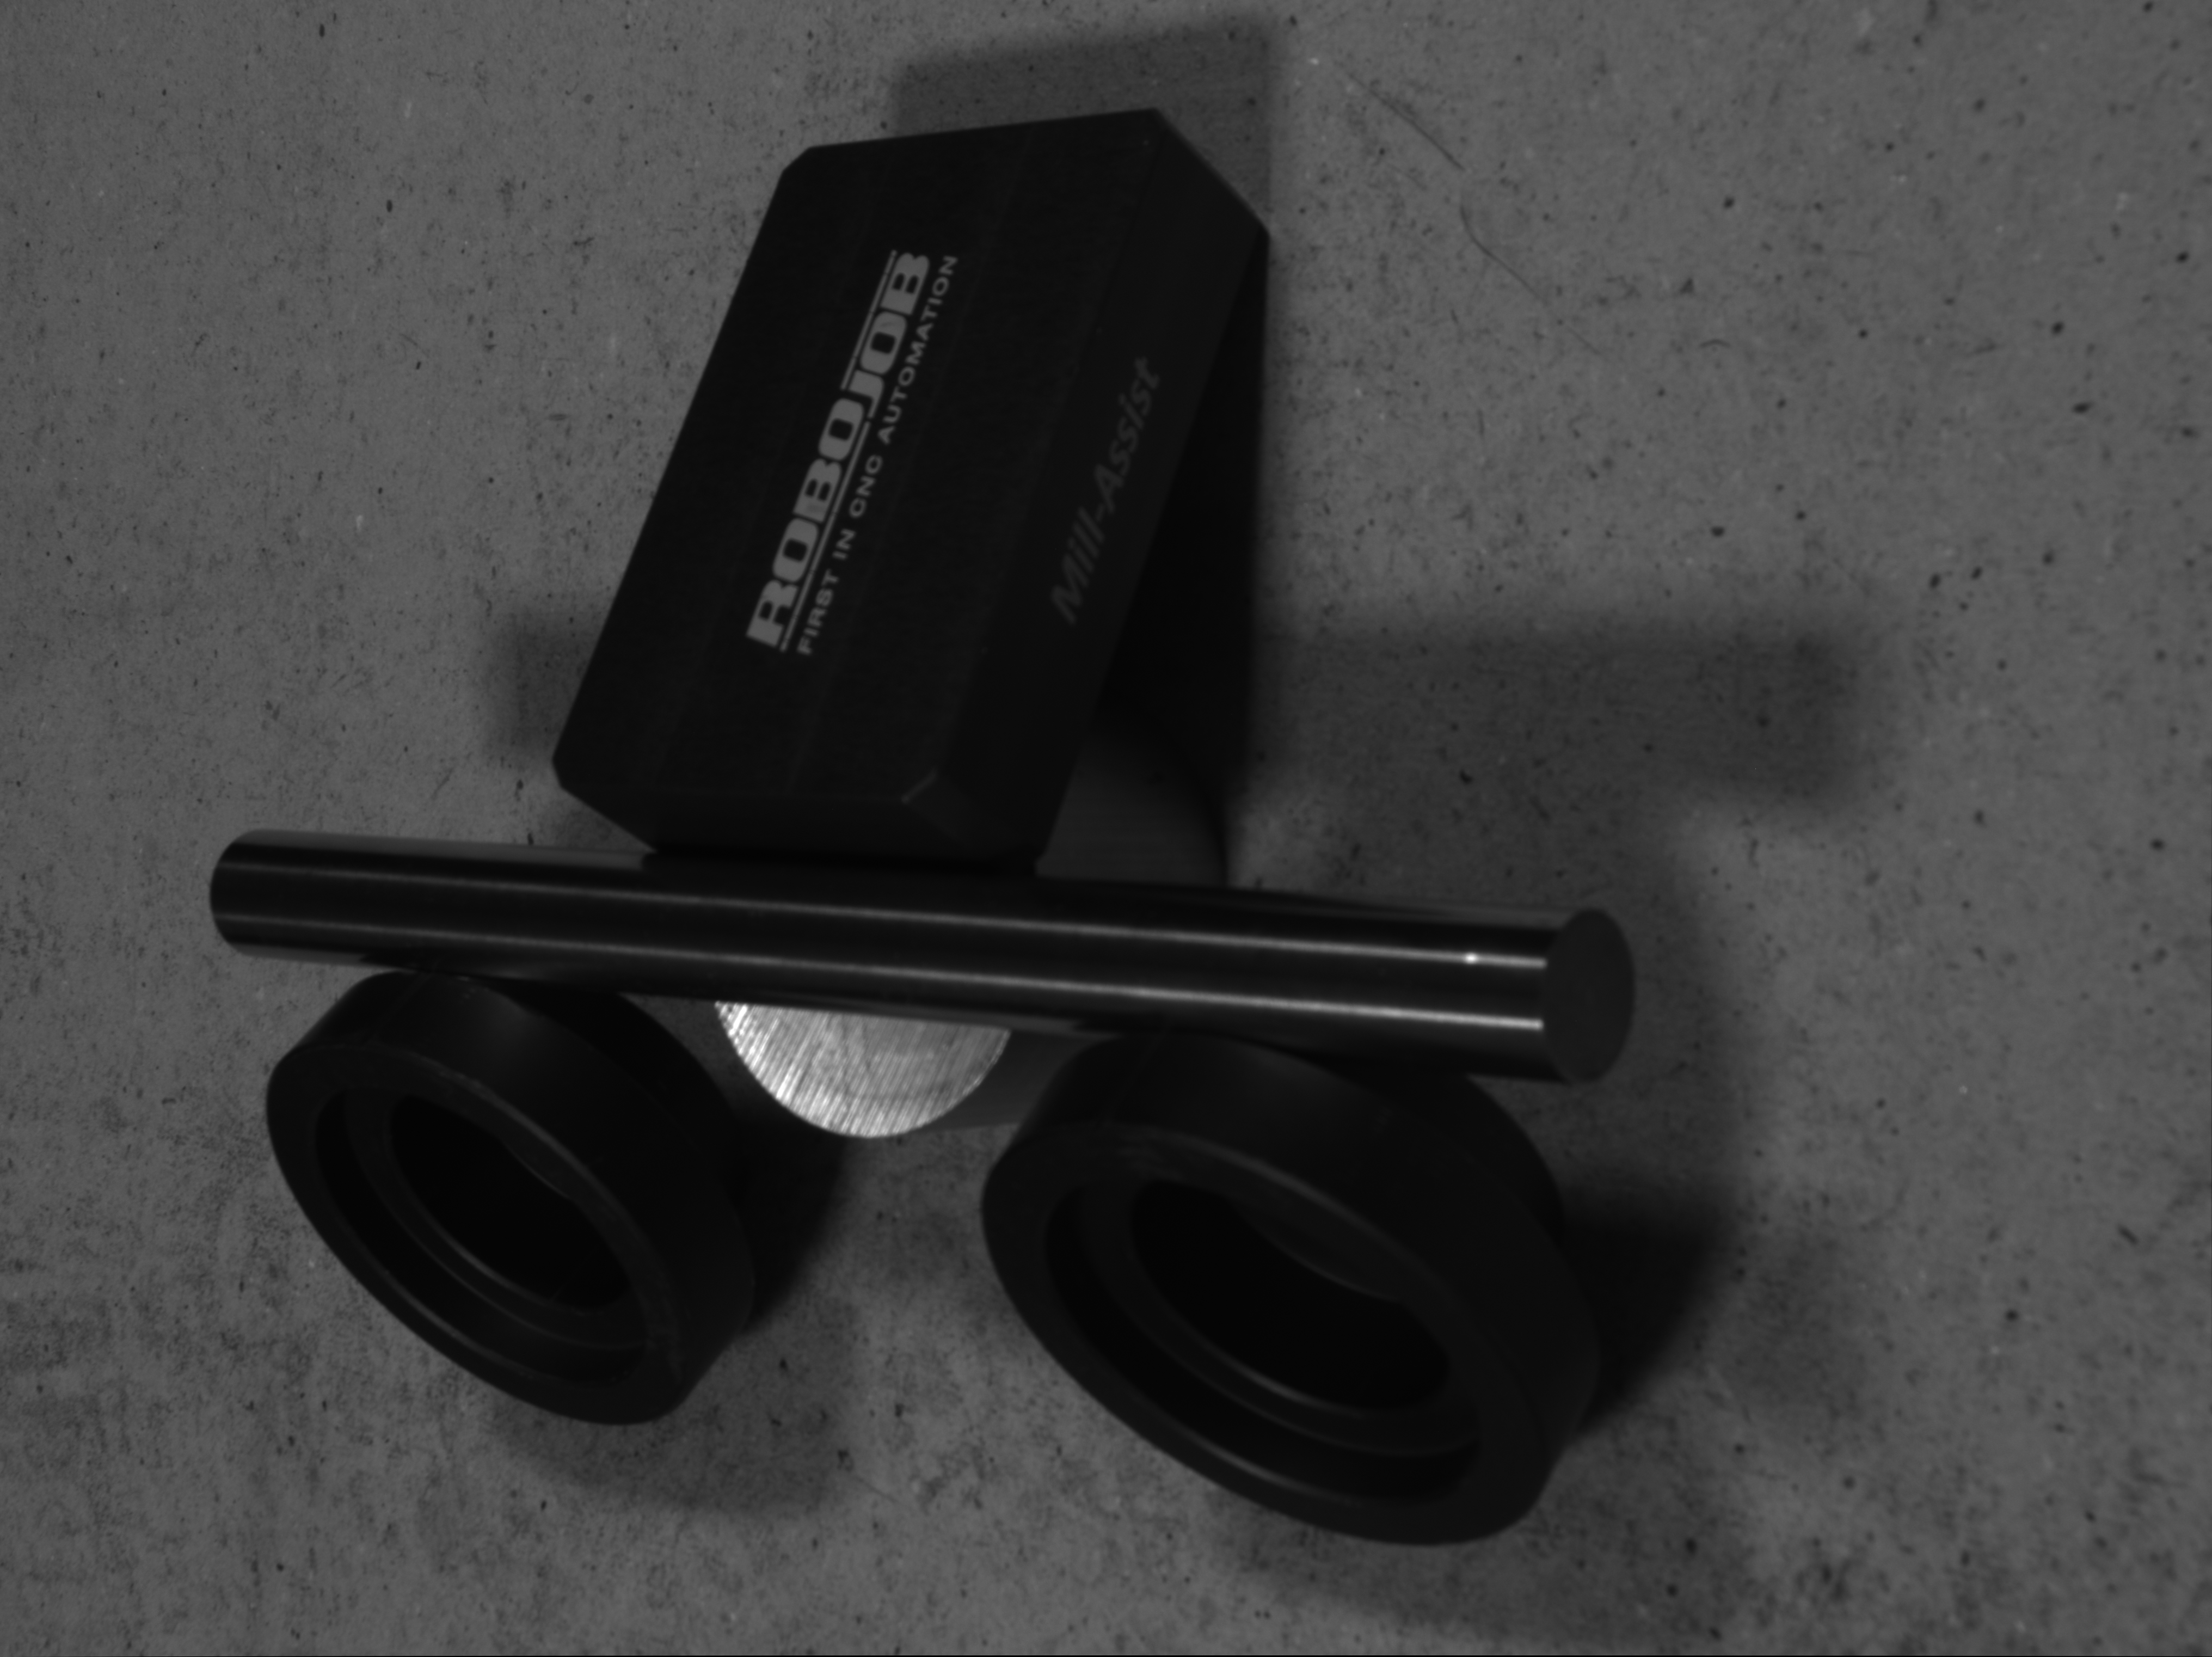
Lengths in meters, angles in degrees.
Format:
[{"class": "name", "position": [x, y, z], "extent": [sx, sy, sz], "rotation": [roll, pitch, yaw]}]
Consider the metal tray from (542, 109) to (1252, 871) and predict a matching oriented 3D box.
[{"class": "metal tray", "position": [-0.036, -0.058, 0.628], "extent": [0.090, 0.030, 0.130], "rotation": [3, 65, 39]}]

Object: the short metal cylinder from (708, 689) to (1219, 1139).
[{"class": "short metal cylinder", "position": [-0.027, 0.013, 0.643], "extent": [0.080, 0.050, 0.080], "rotation": [0, 90, 39]}]

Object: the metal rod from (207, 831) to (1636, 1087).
[{"class": "metal rod", "position": [-0.047, 0.018, 0.611], "extent": [0.299, 0.025, 0.025], "rotation": [3, 92, 39]}]

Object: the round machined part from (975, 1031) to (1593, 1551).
[{"class": "round machined part", "position": [0.032, 0.066, 0.577], "extent": [0.098, 0.042, 0.098], "rotation": [22, 144, 18]}]

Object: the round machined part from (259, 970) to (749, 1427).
[{"class": "round machined part", "position": [-0.108, 0.064, 0.693], "extent": [0.098, 0.042, 0.098], "rotation": [22, 139, 20]}]
